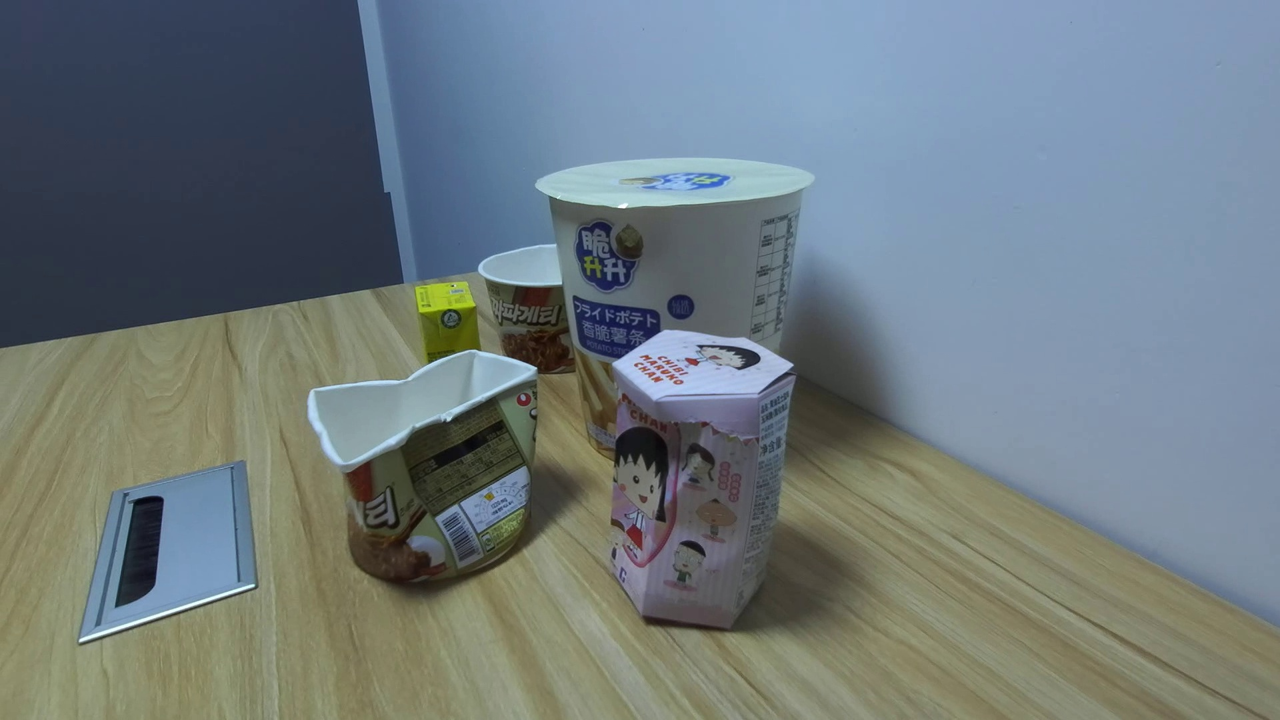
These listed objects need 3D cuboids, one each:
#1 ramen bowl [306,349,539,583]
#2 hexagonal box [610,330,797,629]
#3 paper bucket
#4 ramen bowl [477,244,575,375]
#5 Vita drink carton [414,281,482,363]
[{"bbox_3d":[-0.120,0.061,0.431,0.129,0.093,0.111,-17,28,-30],"label":"ramen bowl"},{"bbox_3d":[0.031,0.060,0.373,0.090,0.134,0.091,7,24,12],"label":"hexagonal box"},{"bbox_3d":[0.026,-0.038,0.523,0.198,0.195,0.198,-2,24,1],"label":"paper bucket"},{"bbox_3d":[-0.079,-0.051,0.686,0.140,0.095,0.140,-2,23,1],"label":"ramen bowl"},{"bbox_3d":[-0.146,-0.002,0.559,0.044,0.109,0.066,-11,27,-17],"label":"Vita drink carton"}]
